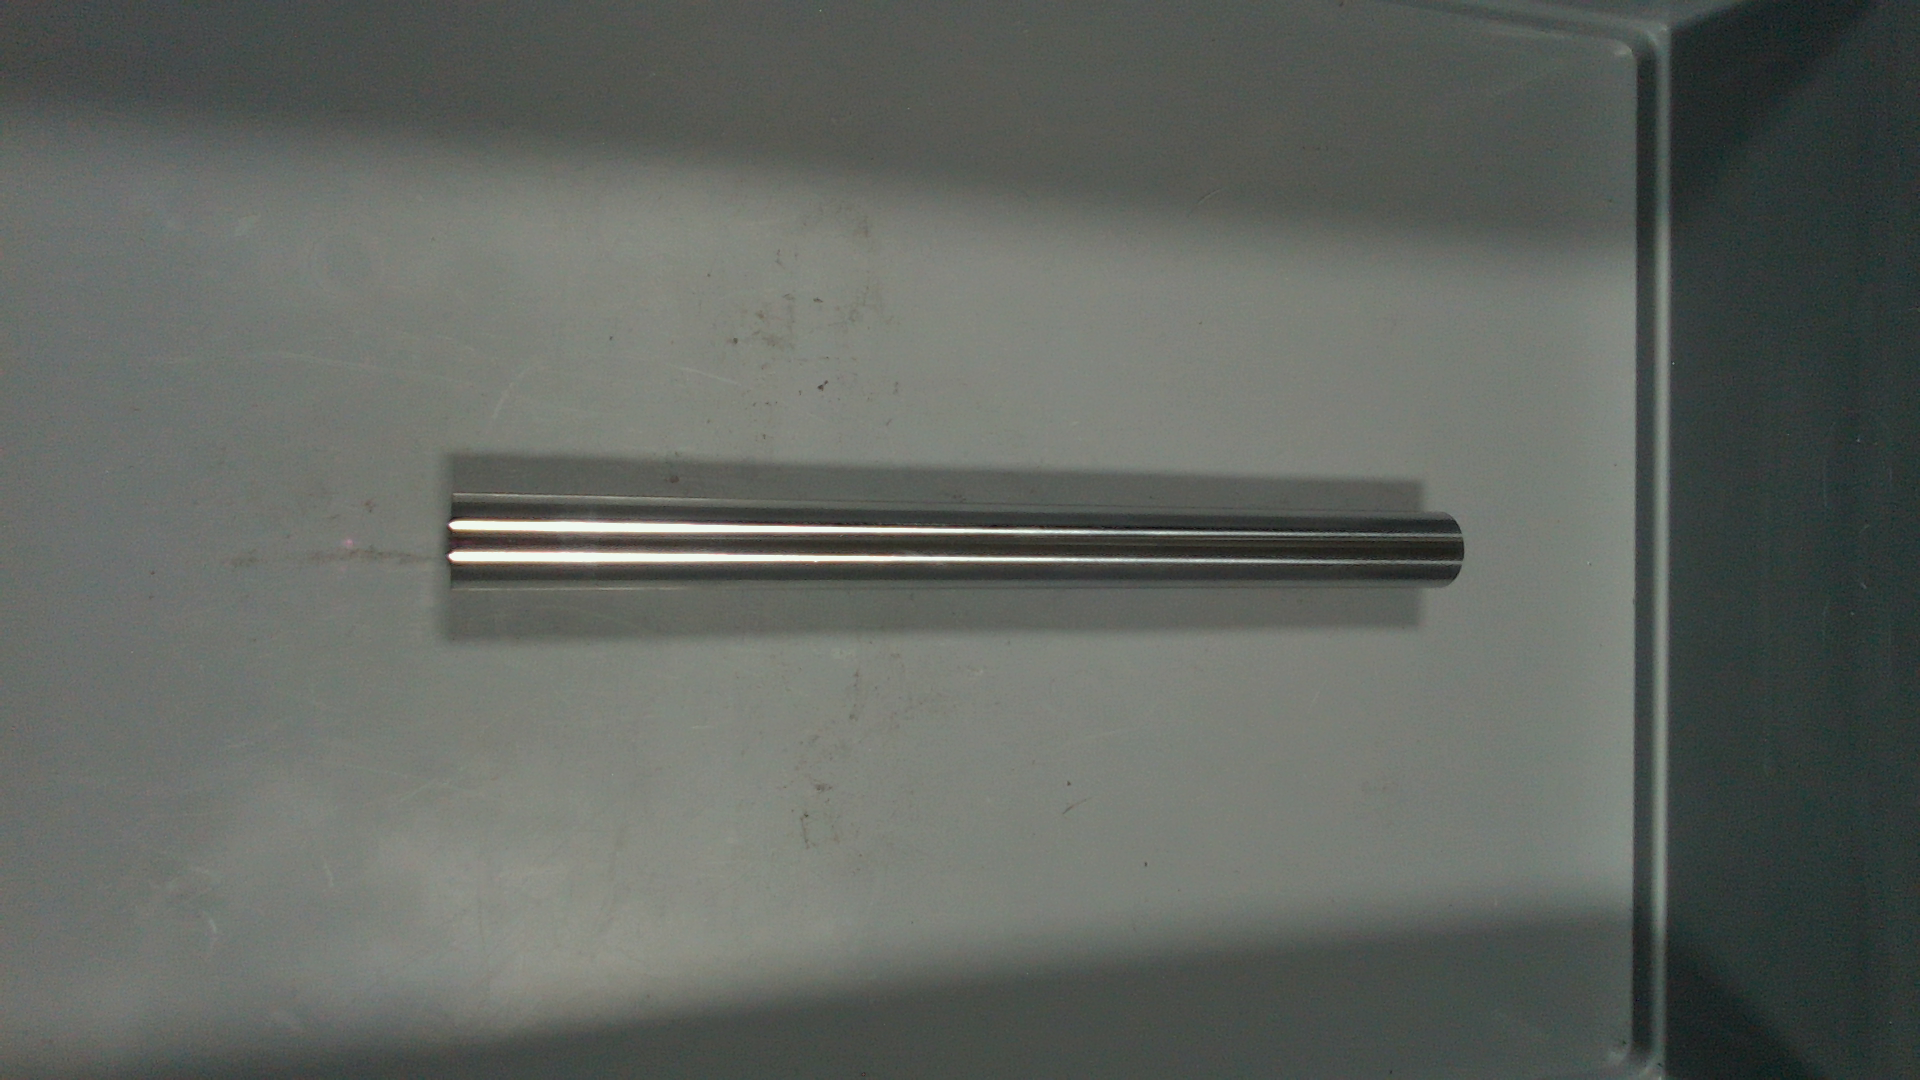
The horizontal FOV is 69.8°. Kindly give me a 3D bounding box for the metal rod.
[{"bbox_3d":[0.014,0.002,0.397,0.301,0.025,0.025,0,90,-20],"label":"metal rod"}]
